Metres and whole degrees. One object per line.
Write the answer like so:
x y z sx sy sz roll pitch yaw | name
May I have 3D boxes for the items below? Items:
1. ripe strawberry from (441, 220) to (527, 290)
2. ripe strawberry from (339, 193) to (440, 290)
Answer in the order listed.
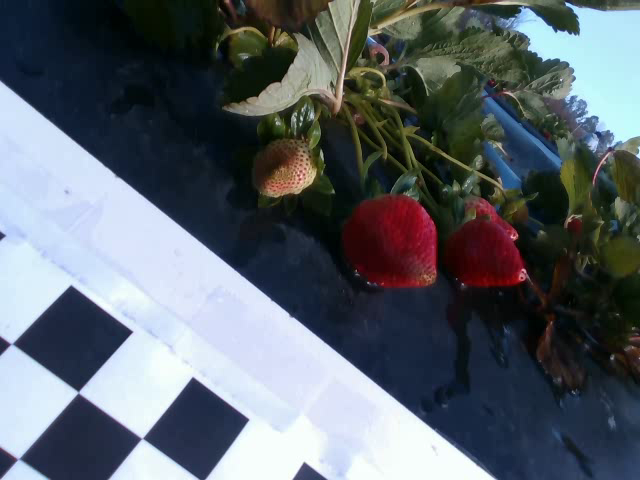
0.096 0.012 0.341 0.044 0.041 0.055 -23 34 -23 | ripe strawberry
0.038 0.002 0.278 0.050 0.049 0.065 1 21 -18 | ripe strawberry
